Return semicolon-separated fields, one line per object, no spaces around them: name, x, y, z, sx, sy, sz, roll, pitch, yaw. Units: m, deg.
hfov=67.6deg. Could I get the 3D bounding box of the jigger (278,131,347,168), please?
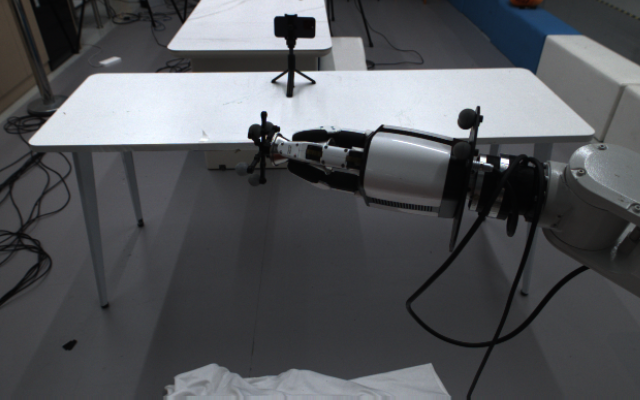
jigger;-0.014;-0.059;0.569;0.071;0.043;0.043;8;35;16
